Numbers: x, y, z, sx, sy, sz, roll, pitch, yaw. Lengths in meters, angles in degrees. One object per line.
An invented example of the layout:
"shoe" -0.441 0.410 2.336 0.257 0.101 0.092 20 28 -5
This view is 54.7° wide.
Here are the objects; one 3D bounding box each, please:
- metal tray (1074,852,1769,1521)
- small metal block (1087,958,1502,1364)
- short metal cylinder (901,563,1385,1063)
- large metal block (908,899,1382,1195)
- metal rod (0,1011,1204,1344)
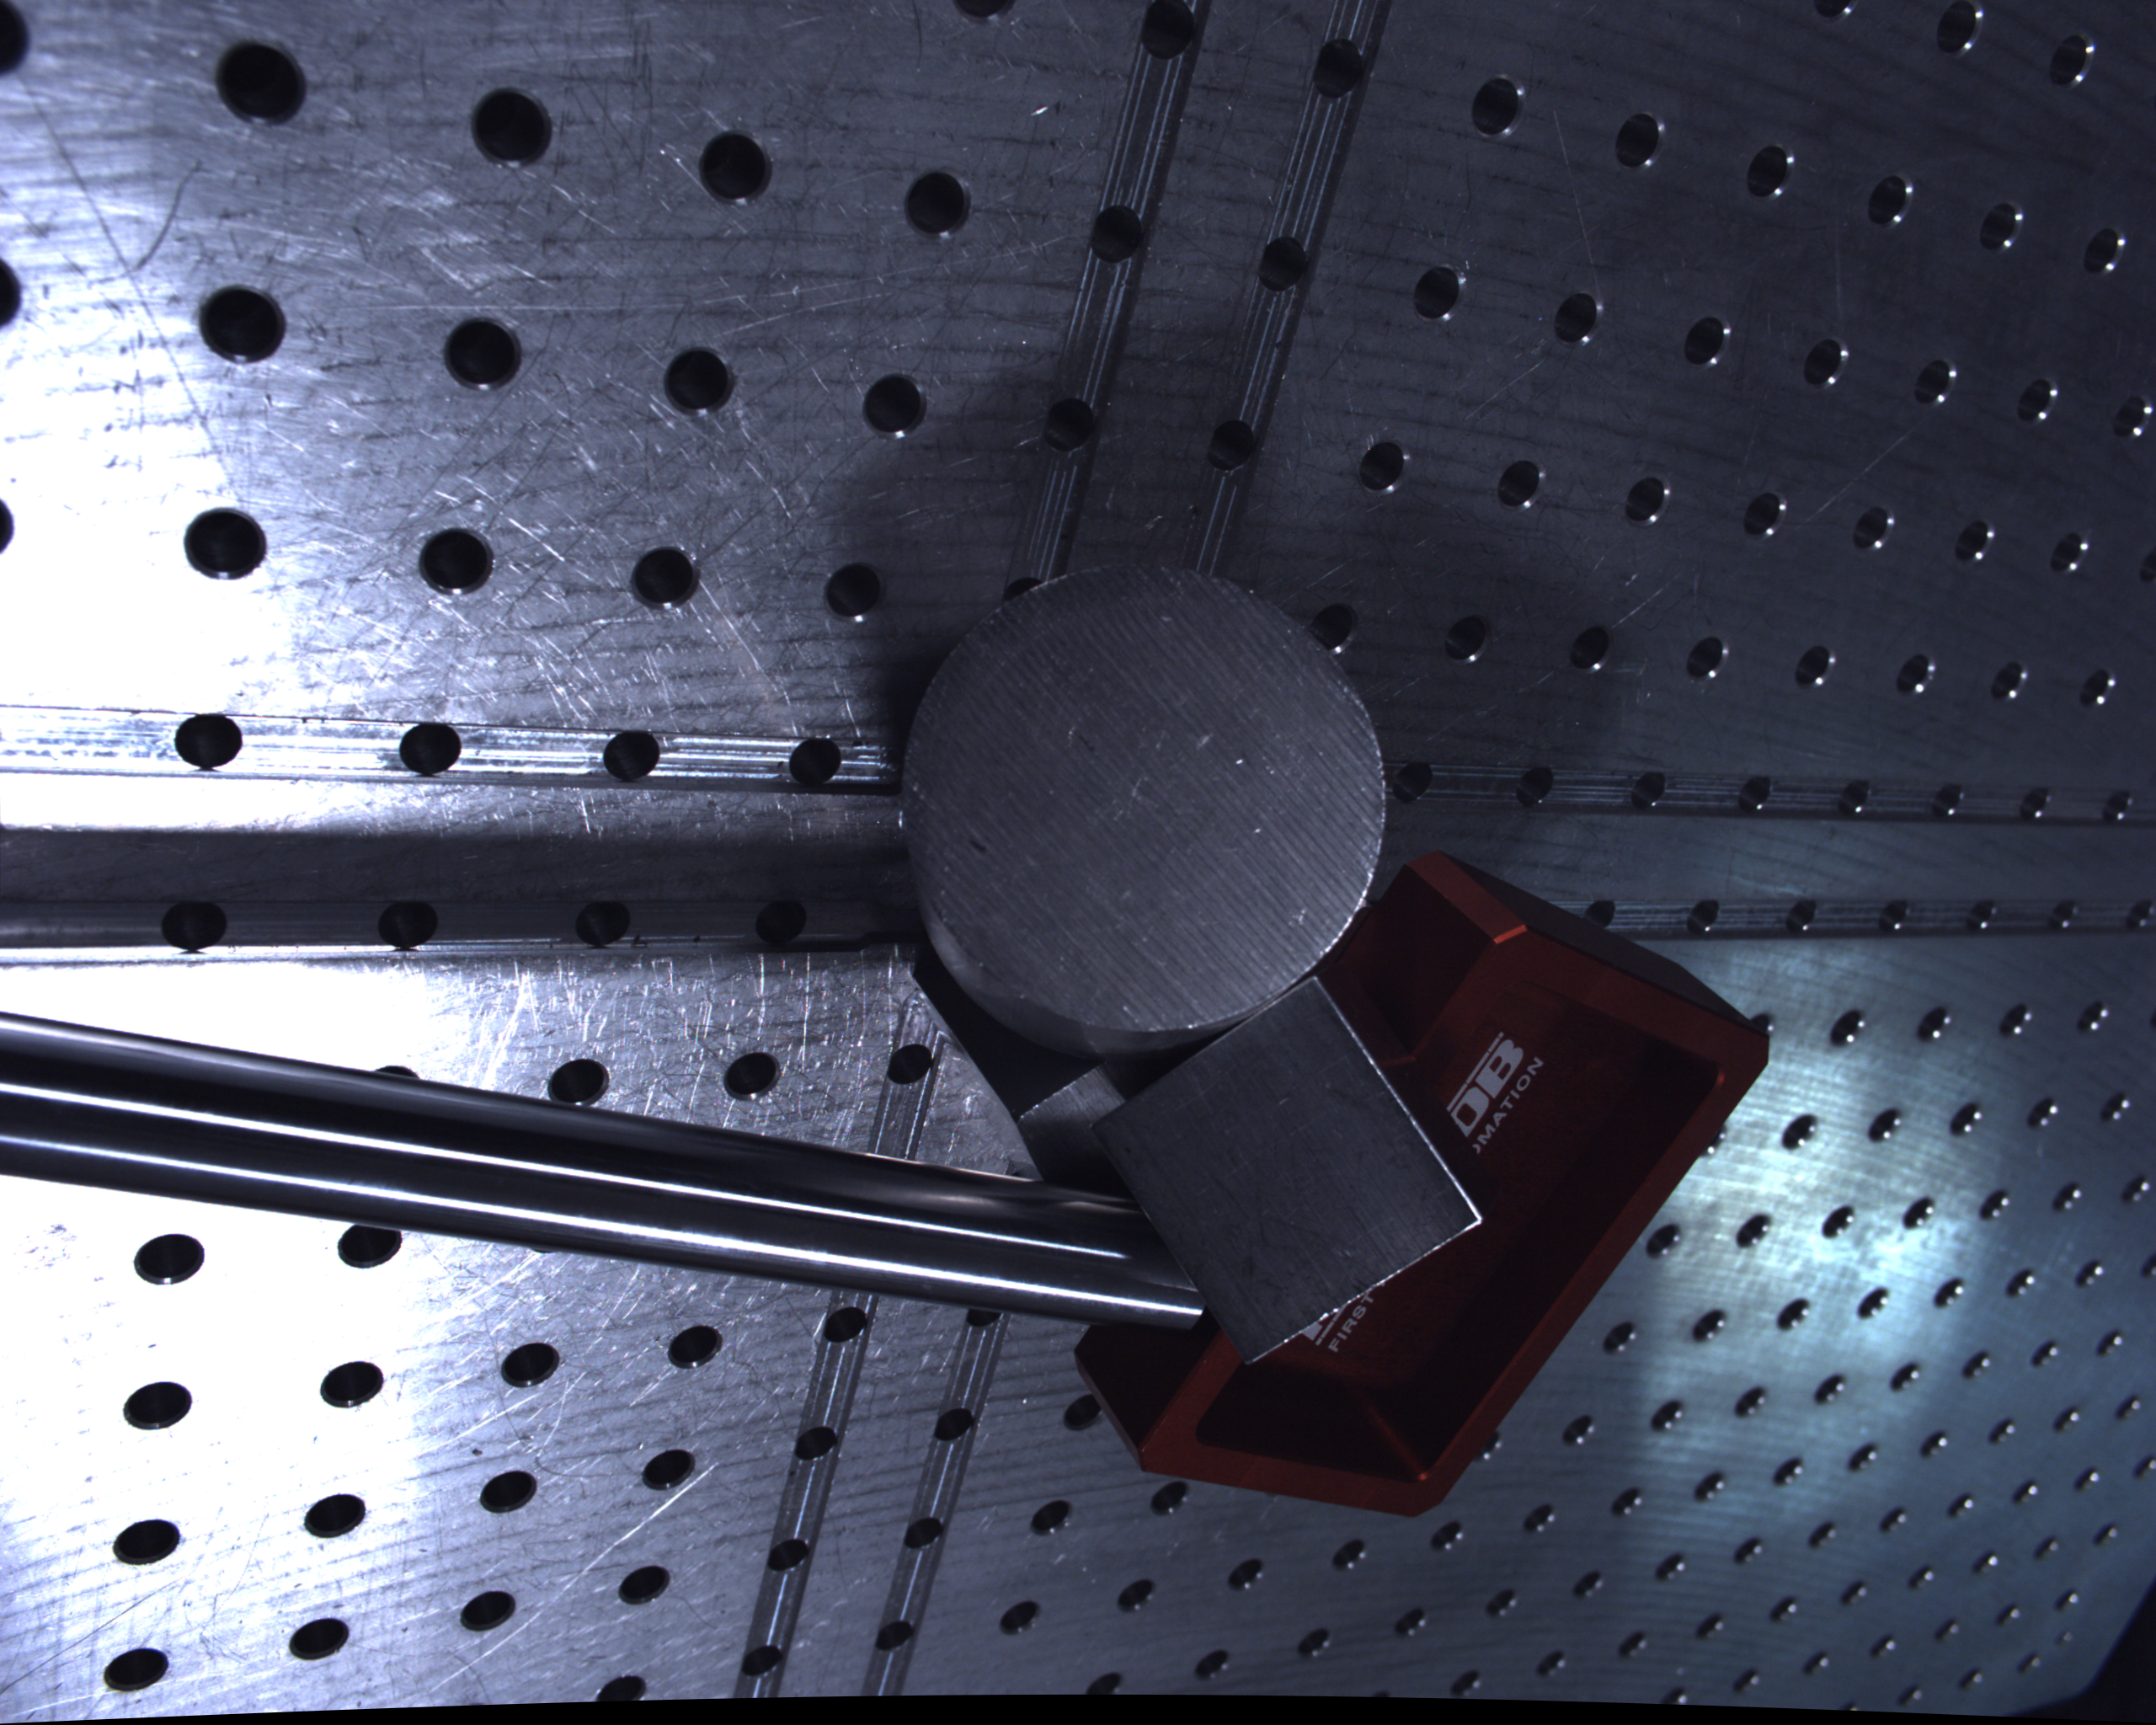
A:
"metal tray" 0.070 0.070 0.423 0.091 0.030 0.129 23 106 -37
"small metal block" 0.039 0.053 0.373 0.050 0.050 0.025 -36 172 17
"short metal cylinder" 0.010 -0.007 0.370 0.080 0.080 0.050 -31 171 -9
"large metal block" 0.023 0.043 0.434 0.080 0.050 0.080 -31 129 -9
"metal rod" -0.116 0.047 0.340 0.302 0.025 0.025 13 112 -22
